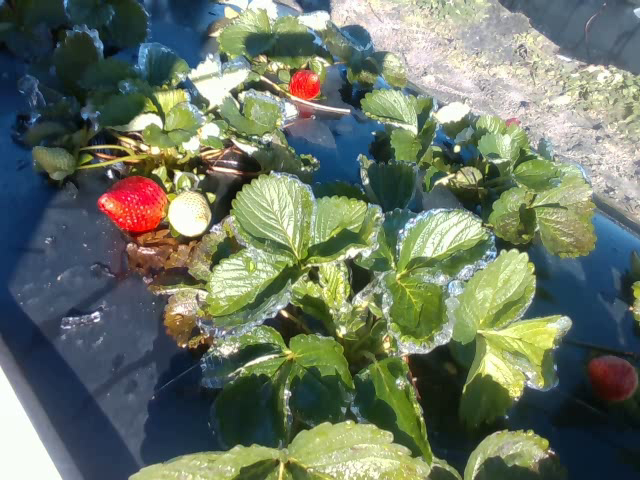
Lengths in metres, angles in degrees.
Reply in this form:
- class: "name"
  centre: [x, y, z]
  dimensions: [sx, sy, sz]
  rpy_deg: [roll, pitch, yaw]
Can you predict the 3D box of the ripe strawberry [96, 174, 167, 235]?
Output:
- class: "ripe strawberry"
  centre: [-0.117, -0.022, 0.380]
  dimensions: [0.040, 0.042, 0.053]
  rpy_deg: [4, 2, 17]
